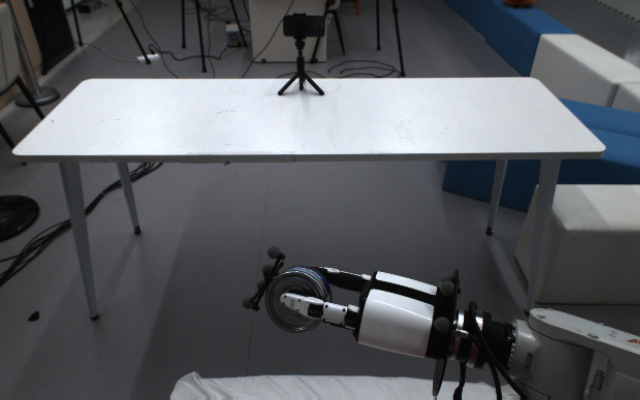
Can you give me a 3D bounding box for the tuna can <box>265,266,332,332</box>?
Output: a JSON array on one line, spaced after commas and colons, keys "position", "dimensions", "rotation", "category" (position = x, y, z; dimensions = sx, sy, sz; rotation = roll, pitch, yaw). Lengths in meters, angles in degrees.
[{"position": [-0.026, 0.136, 0.642], "dimensions": [0.085, 0.085, 0.034], "rotation": [10, 4, 11], "category": "tuna can"}]
